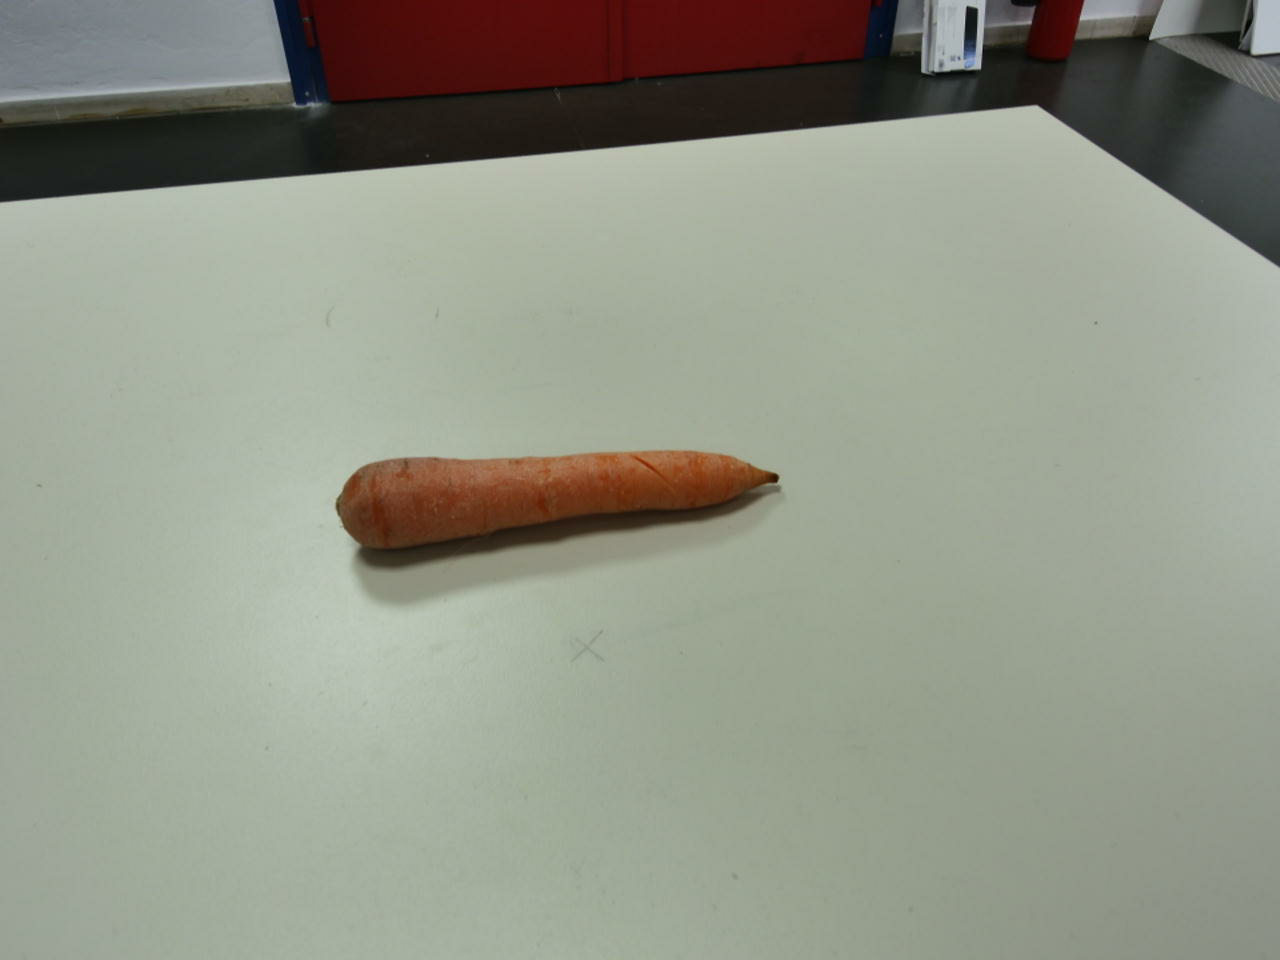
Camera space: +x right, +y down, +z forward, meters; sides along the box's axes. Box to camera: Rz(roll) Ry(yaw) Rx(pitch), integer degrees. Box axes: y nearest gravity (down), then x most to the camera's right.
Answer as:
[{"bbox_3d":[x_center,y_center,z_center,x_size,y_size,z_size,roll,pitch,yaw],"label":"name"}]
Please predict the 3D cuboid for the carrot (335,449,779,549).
[{"bbox_3d":[-0.032,0.000,0.442,0.196,0.041,0.039,-8,39,-10],"label":"carrot"}]
